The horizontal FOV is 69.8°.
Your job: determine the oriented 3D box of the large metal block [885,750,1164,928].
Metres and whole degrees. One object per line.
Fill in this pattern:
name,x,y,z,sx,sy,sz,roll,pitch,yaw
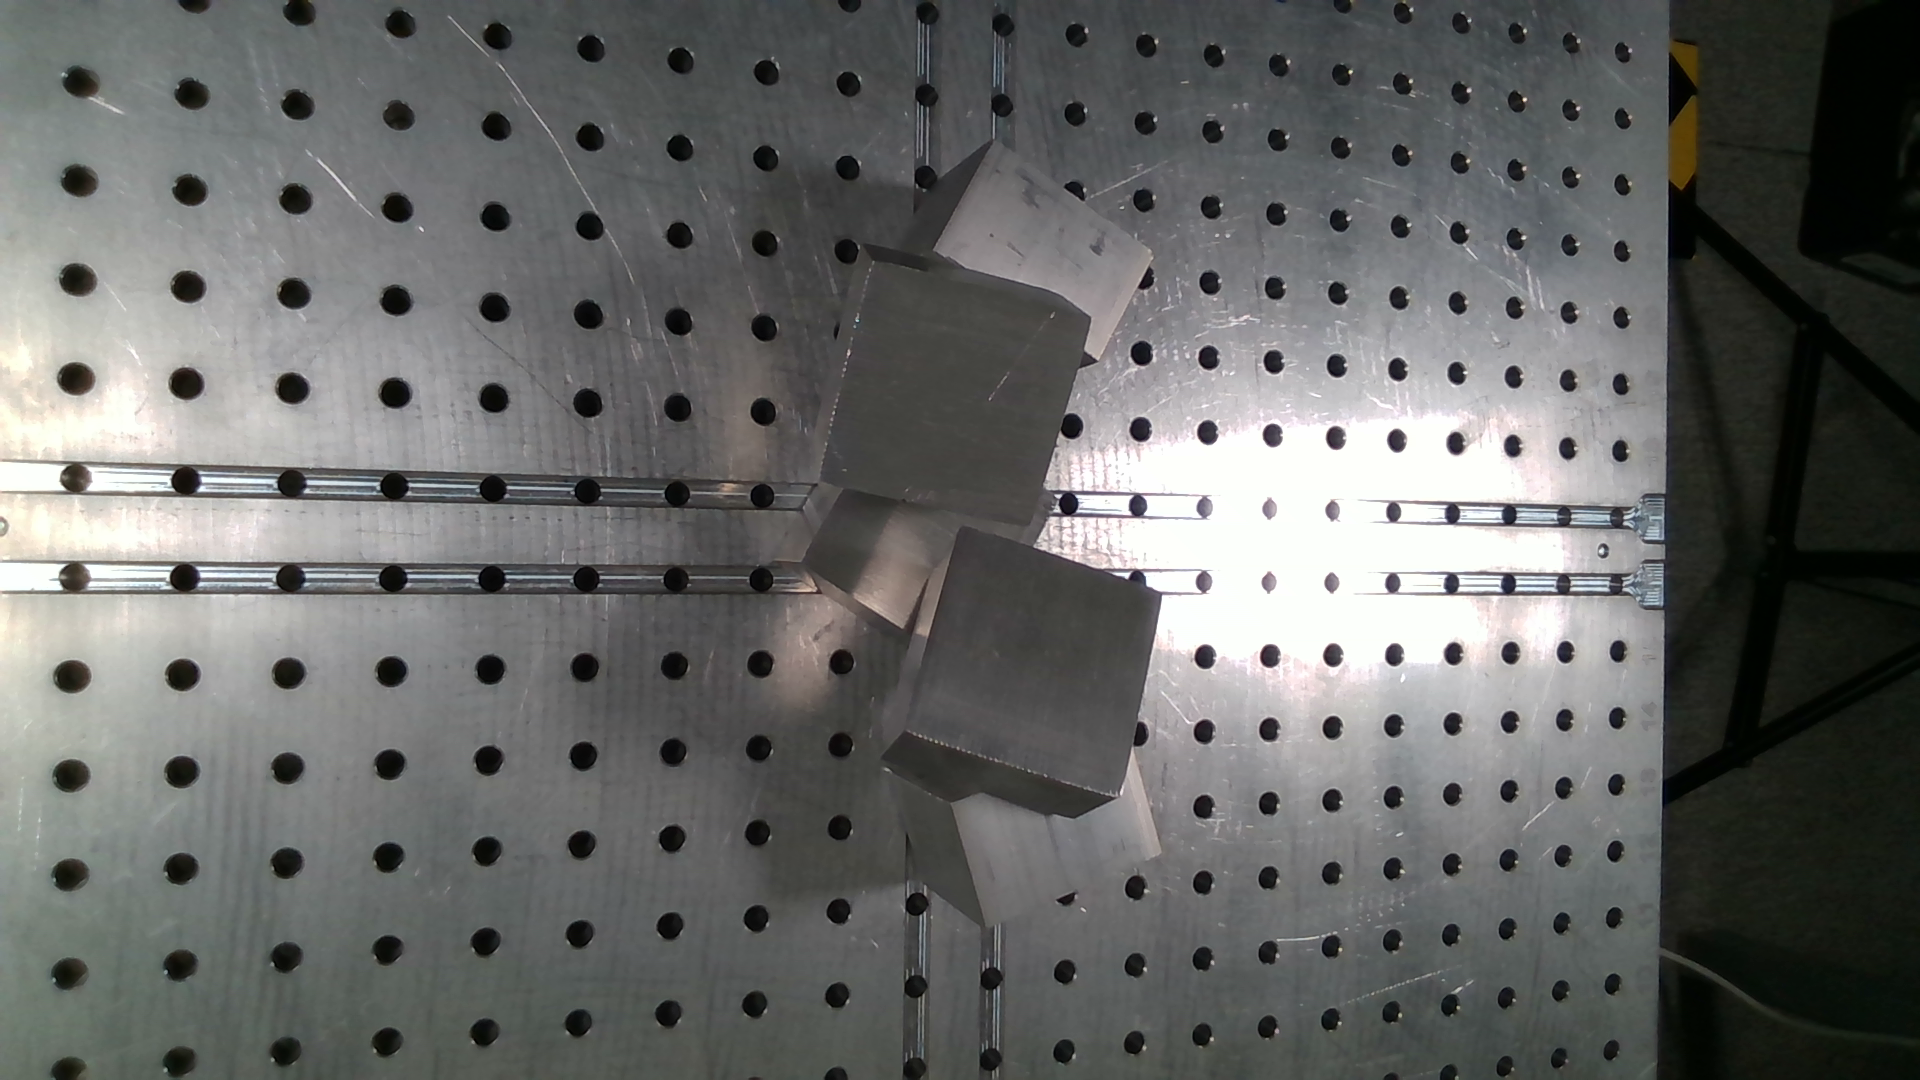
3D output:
large metal block,0.025,0.111,0.568,0.080,0.080,0.050,-17,96,-19

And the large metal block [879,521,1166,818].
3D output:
large metal block,0.022,0.050,0.510,0.080,0.050,0.080,18,68,-7

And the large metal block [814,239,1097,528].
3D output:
large metal block,-0.005,-0.057,0.503,0.080,0.050,0.080,12,107,-13

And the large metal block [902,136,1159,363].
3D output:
large metal block,0.020,-0.111,0.566,0.080,0.080,0.050,31,80,-18

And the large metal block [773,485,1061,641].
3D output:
large metal block,-0.019,-0.004,0.567,0.080,0.050,0.080,34,79,-17
